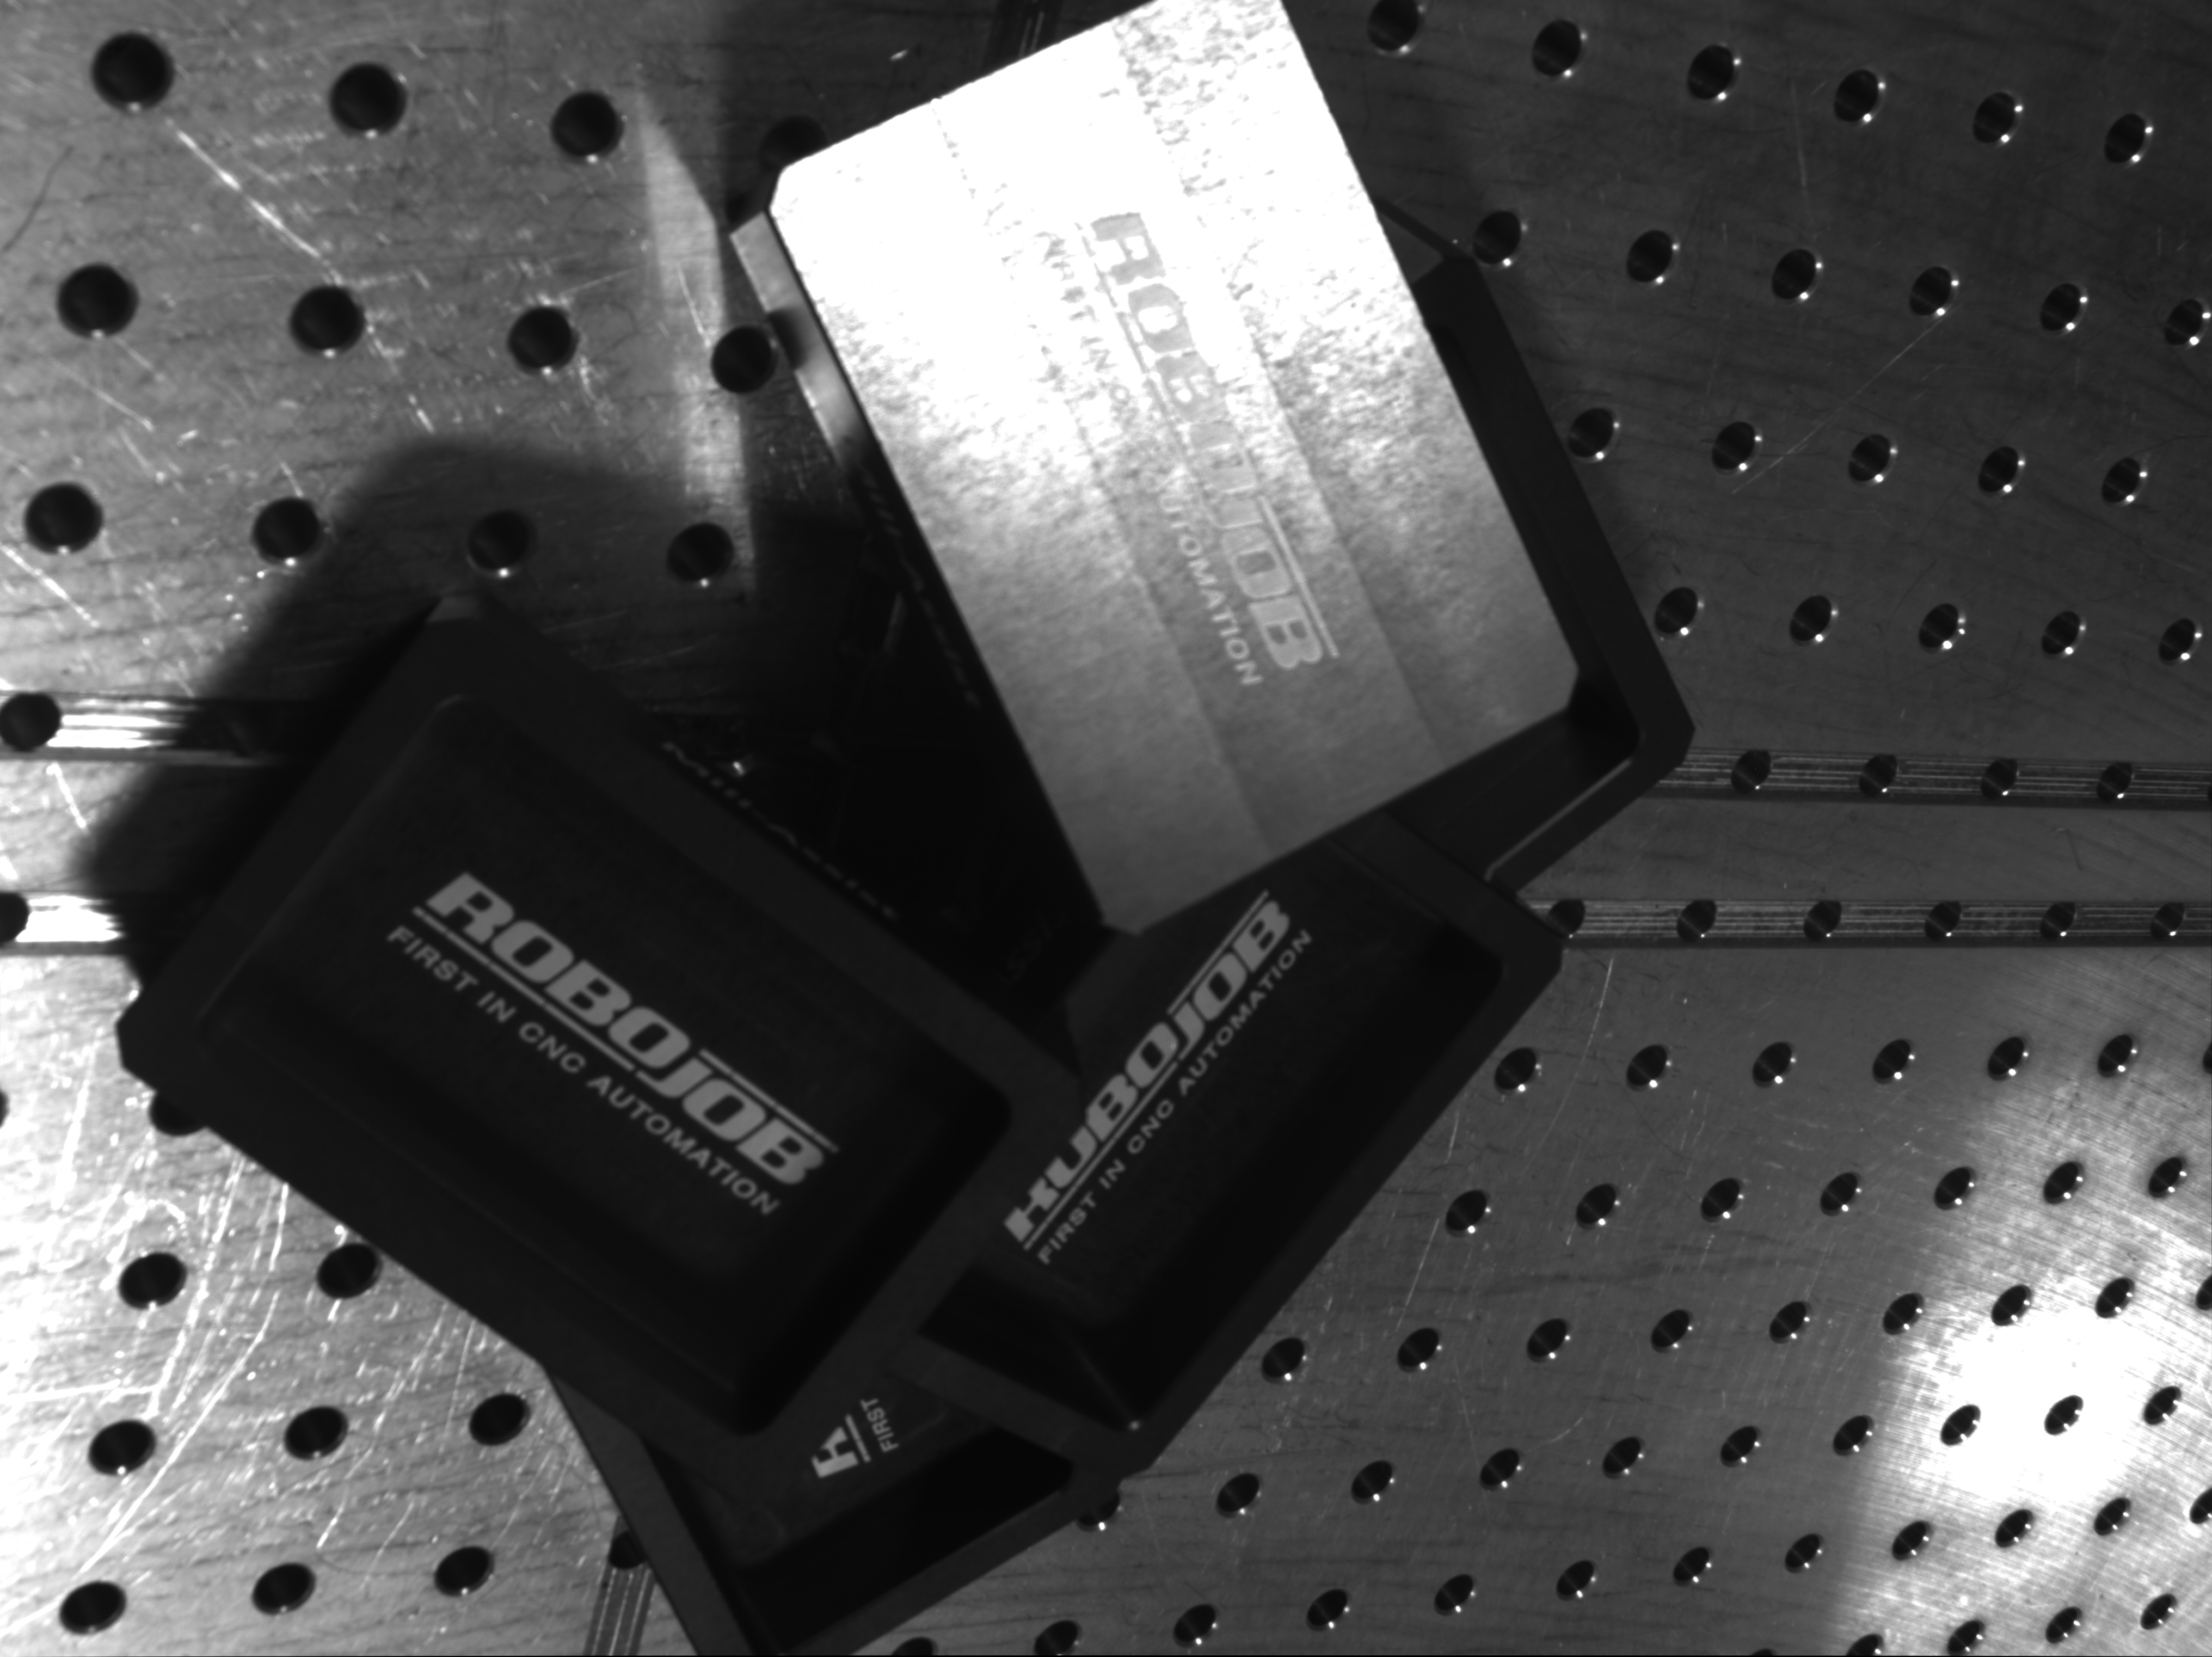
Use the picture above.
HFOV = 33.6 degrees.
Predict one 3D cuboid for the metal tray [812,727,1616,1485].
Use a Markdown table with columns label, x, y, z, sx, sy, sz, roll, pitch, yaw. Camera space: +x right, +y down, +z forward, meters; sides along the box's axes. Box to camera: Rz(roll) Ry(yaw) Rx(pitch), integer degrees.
| label | x | y | z | sx | sy | sz | roll | pitch | yaw |
| --- | --- | --- | --- | --- | --- | --- | --- | --- | --- |
| metal tray | 0.019 | 0.047 | 0.652 | 0.090 | 0.030 | 0.130 | 33 | 99 | -40 |

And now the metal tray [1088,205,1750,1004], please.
| label | x | y | z | sx | sy | sz | roll | pitch | yaw |
| --- | --- | --- | --- | --- | --- | --- | --- | --- | --- |
| metal tray | 0.054 | -0.036 | 0.660 | 0.090 | 0.030 | 0.130 | -37 | 130 | -5 |

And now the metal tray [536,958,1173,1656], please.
| label | x | y | z | sx | sy | sz | roll | pitch | yaw |
| --- | --- | --- | --- | --- | --- | --- | --- | --- | --- |
| metal tray | -0.046 | 0.096 | 0.683 | 0.090 | 0.030 | 0.130 | -29 | 129 | -12 |

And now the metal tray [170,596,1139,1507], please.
| label | x | y | z | sx | sy | sz | roll | pitch | yaw |
| --- | --- | --- | --- | --- | --- | --- | --- | --- | --- |
| metal tray | -0.071 | 0.036 | 0.591 | 0.130 | 0.030 | 0.090 | 38 | 97 | -10 |

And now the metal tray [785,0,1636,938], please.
| label | x | y | z | sx | sy | sz | roll | pitch | yaw |
| --- | --- | --- | --- | --- | --- | --- | --- | --- | --- |
| metal tray | 0.017 | -0.059 | 0.584 | 0.090 | 0.030 | 0.130 | -27 | 99 | -13 |
